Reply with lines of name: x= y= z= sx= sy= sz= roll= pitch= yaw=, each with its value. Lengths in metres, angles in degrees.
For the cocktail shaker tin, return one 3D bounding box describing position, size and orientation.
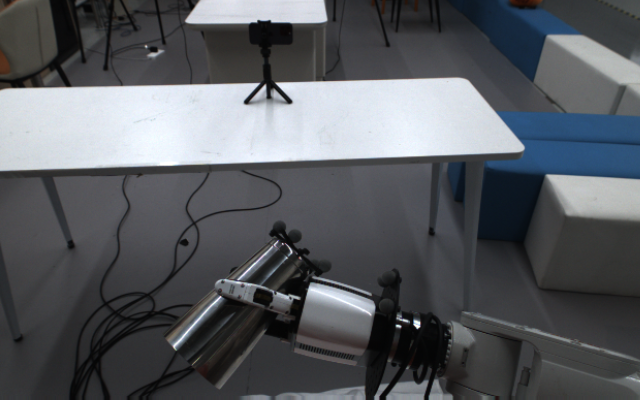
cocktail shaker tin: x=-0.092 y=0.124 z=0.583 sx=0.093 sy=0.093 sz=0.170 roll=32 pitch=65 yaw=35
